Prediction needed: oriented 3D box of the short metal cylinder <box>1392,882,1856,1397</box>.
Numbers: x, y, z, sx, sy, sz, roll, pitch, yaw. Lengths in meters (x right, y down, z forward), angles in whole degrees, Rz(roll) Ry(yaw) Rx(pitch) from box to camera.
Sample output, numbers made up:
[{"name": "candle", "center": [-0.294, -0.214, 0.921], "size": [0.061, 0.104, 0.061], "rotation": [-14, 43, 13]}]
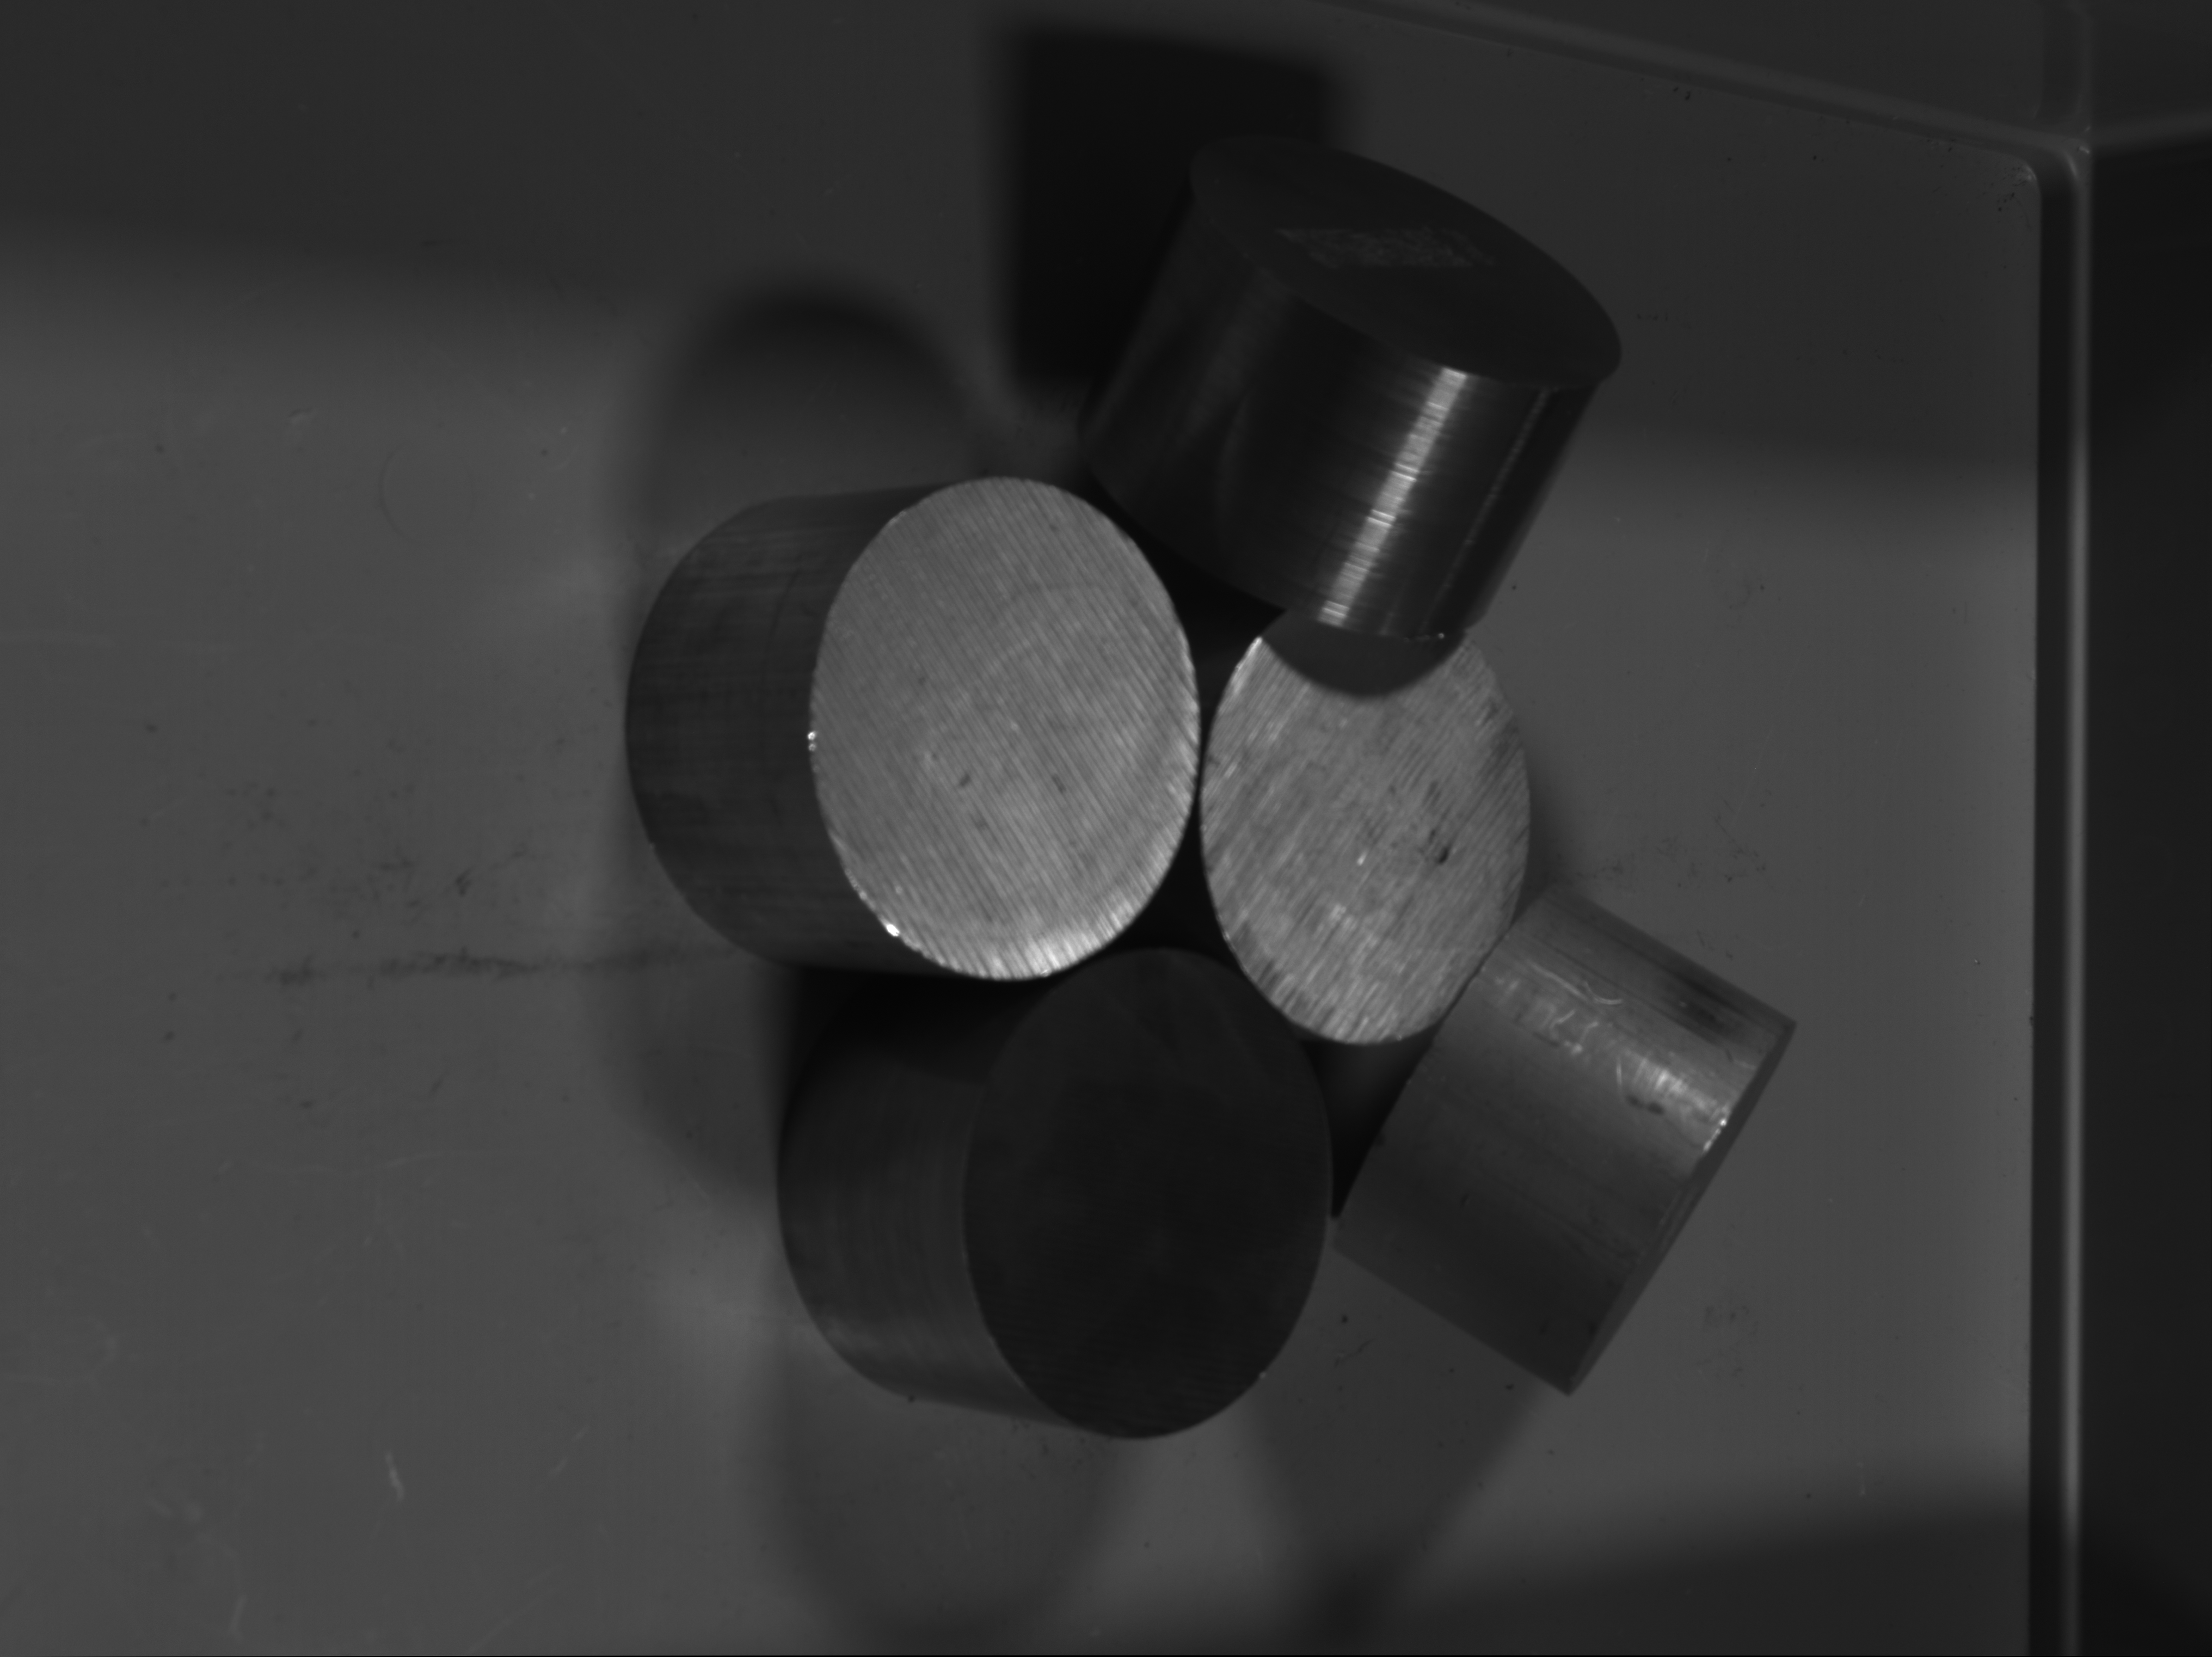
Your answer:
[{"name": "short metal cylinder", "center": [0.095, 0.057, 0.672], "size": [0.080, 0.050, 0.080], "rotation": [-53, 165, -21]}]

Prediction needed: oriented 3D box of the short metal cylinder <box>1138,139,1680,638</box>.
[{"name": "short metal cylinder", "center": [0.052, -0.077, 0.634], "size": [0.080, 0.080, 0.050], "rotation": [-4, 131, -40]}]

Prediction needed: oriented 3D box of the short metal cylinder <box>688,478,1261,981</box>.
[{"name": "short metal cylinder", "center": [-0.021, -0.016, 0.601], "size": [0.080, 0.050, 0.080], "rotation": [0, 90, -40]}]

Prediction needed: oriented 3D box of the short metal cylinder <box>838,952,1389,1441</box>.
[{"name": "short metal cylinder", "center": [0.002, 0.060, 0.620], "size": [0.080, 0.050, 0.080], "rotation": [0, 90, -40]}]

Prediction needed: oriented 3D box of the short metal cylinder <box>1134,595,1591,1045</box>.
[{"name": "short metal cylinder", "center": [0.040, -0.002, 0.653], "size": [0.080, 0.050, 0.080], "rotation": [0, 90, -40]}]
